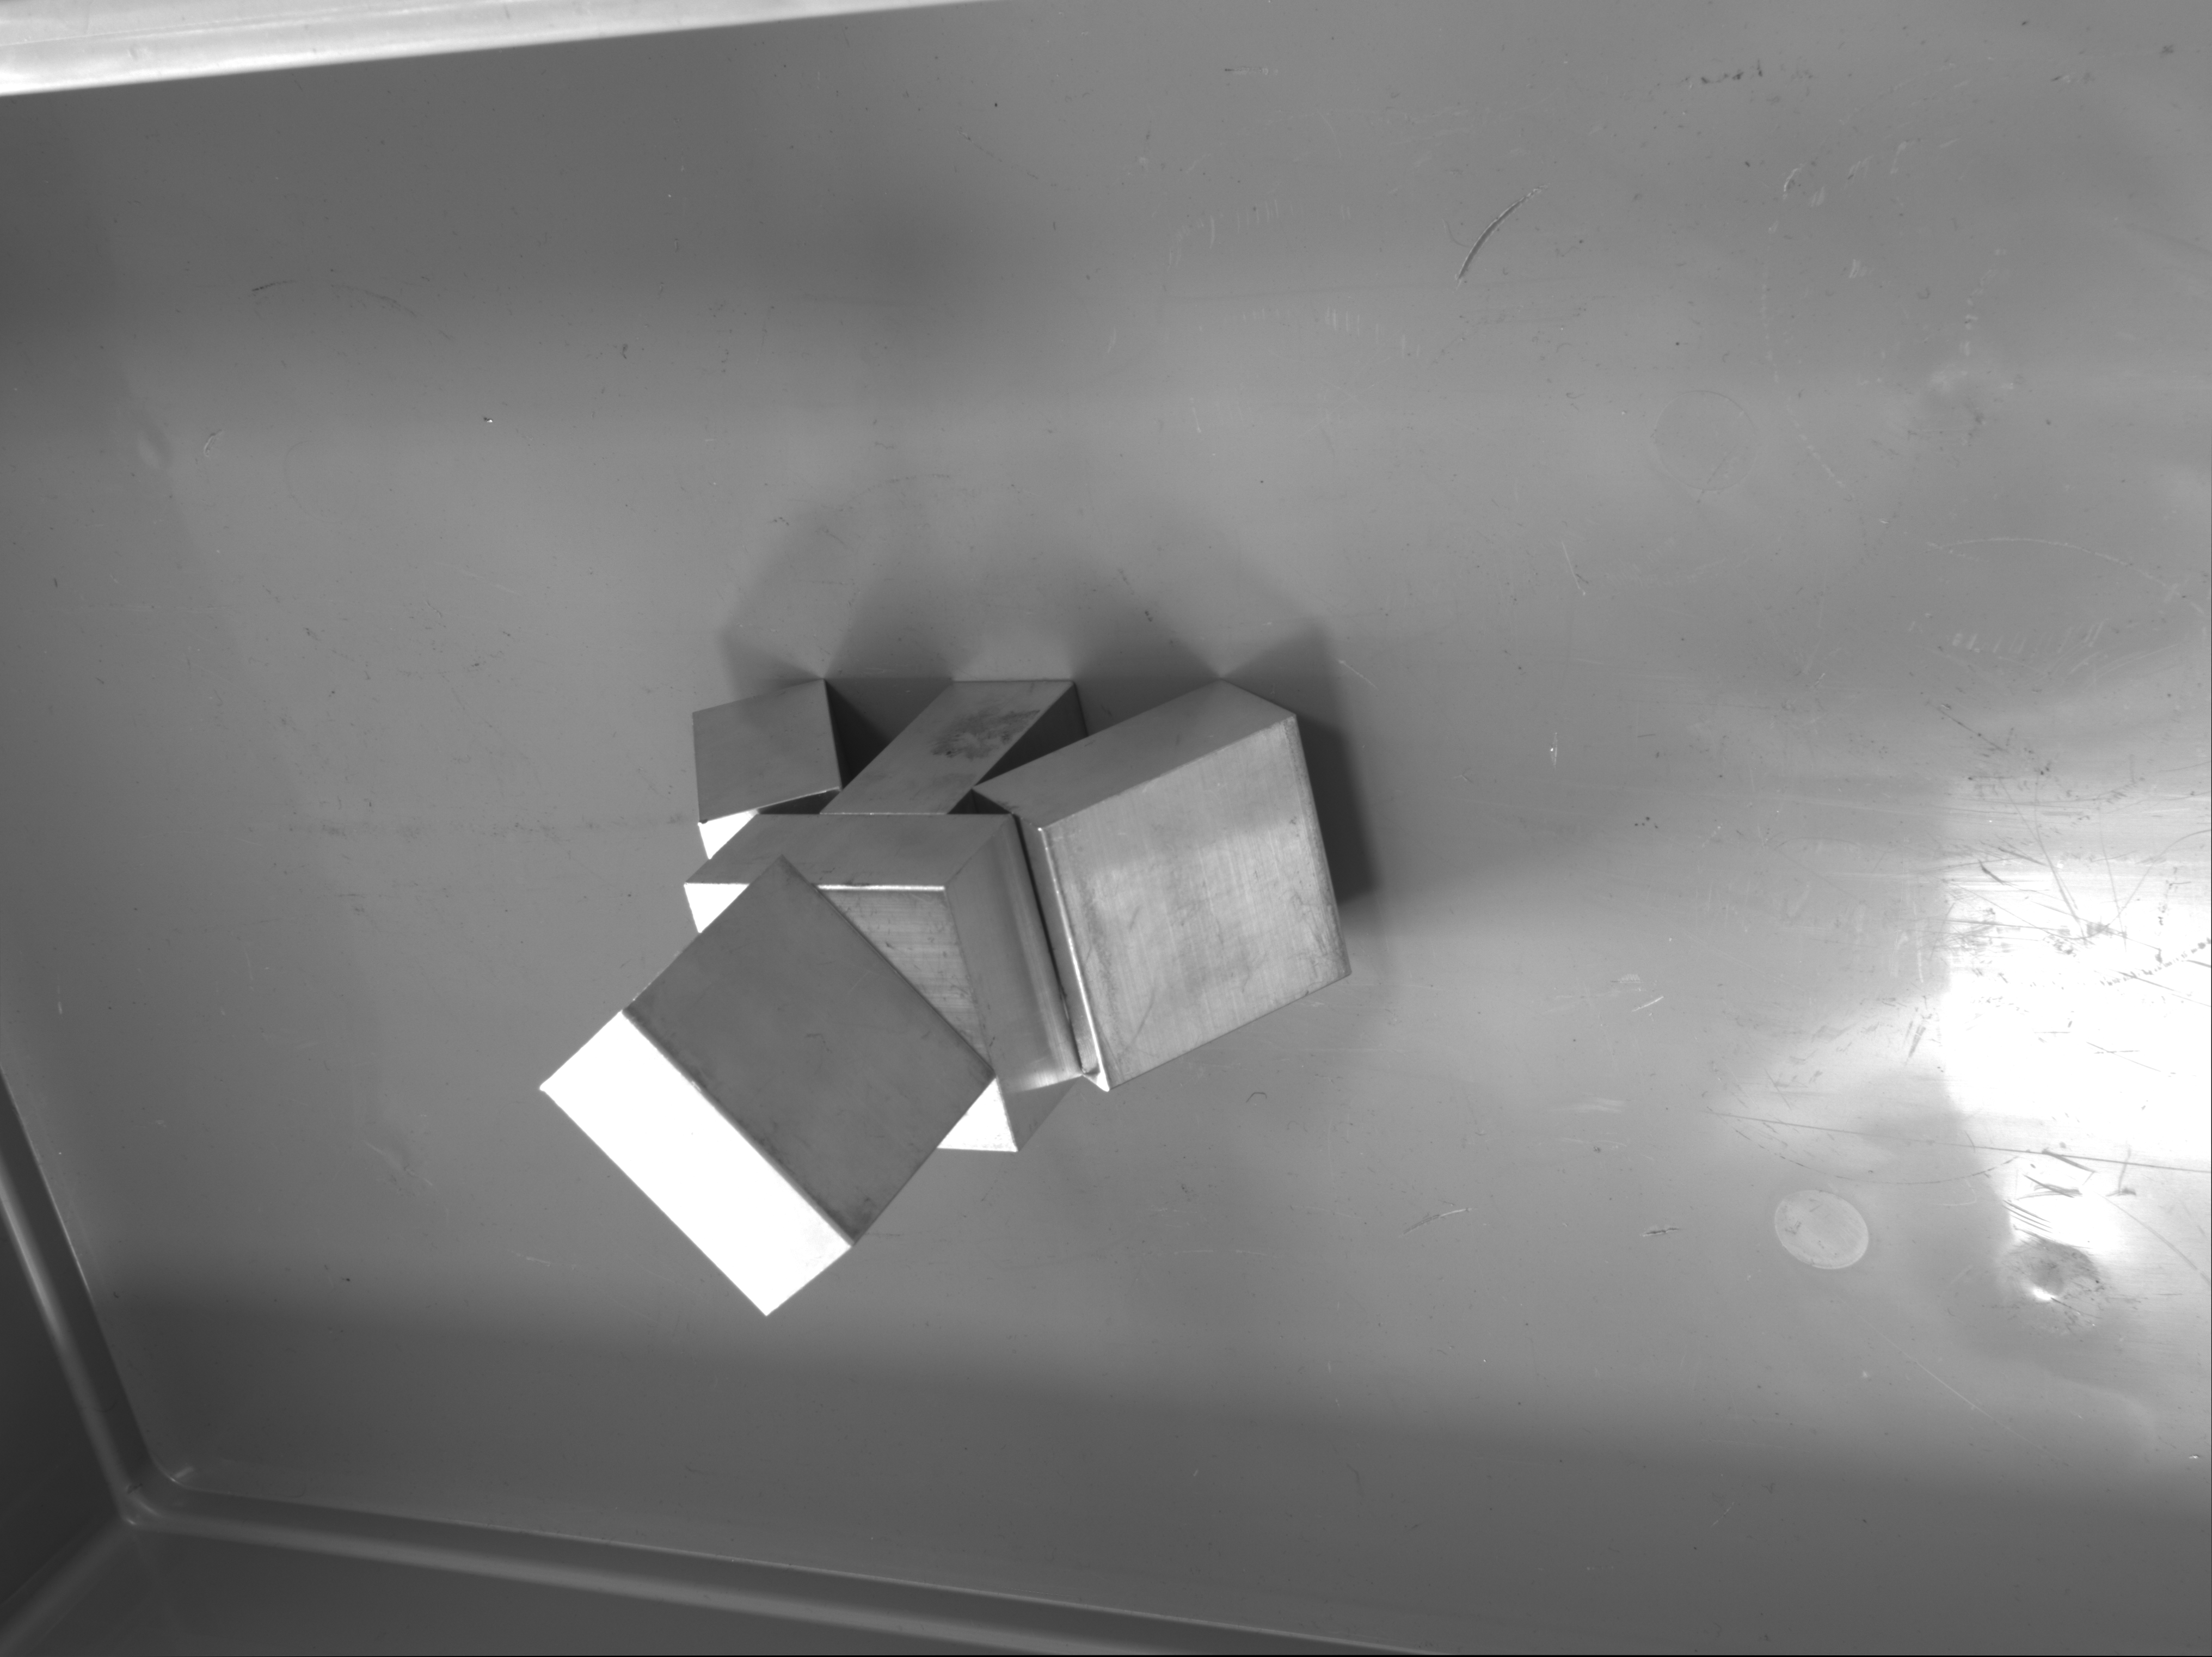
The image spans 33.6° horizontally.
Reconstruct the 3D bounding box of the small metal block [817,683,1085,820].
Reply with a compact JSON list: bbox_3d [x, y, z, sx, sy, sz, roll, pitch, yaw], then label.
[{"bbox_3d":[-0.022,0.008,0.641,0.025,0.050,0.050,1,118,28],"label":"small metal block"}]

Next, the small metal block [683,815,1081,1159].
[{"bbox_3d":[-0.037,0.026,0.611,0.050,0.025,0.050,1,118,28],"label":"small metal block"}]

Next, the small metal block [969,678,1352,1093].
[{"bbox_3d":[0.010,0.009,0.622,0.025,0.050,0.050,29,138,56],"label":"small metal block"}]

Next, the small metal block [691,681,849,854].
[{"bbox_3d":[-0.055,0.008,0.655,0.025,0.050,0.050,-15,115,-2],"label":"small metal block"}]

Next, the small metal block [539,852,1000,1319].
[{"bbox_3d":[-0.052,0.040,0.579,0.050,0.050,0.025,47,130,-4],"label":"small metal block"}]
